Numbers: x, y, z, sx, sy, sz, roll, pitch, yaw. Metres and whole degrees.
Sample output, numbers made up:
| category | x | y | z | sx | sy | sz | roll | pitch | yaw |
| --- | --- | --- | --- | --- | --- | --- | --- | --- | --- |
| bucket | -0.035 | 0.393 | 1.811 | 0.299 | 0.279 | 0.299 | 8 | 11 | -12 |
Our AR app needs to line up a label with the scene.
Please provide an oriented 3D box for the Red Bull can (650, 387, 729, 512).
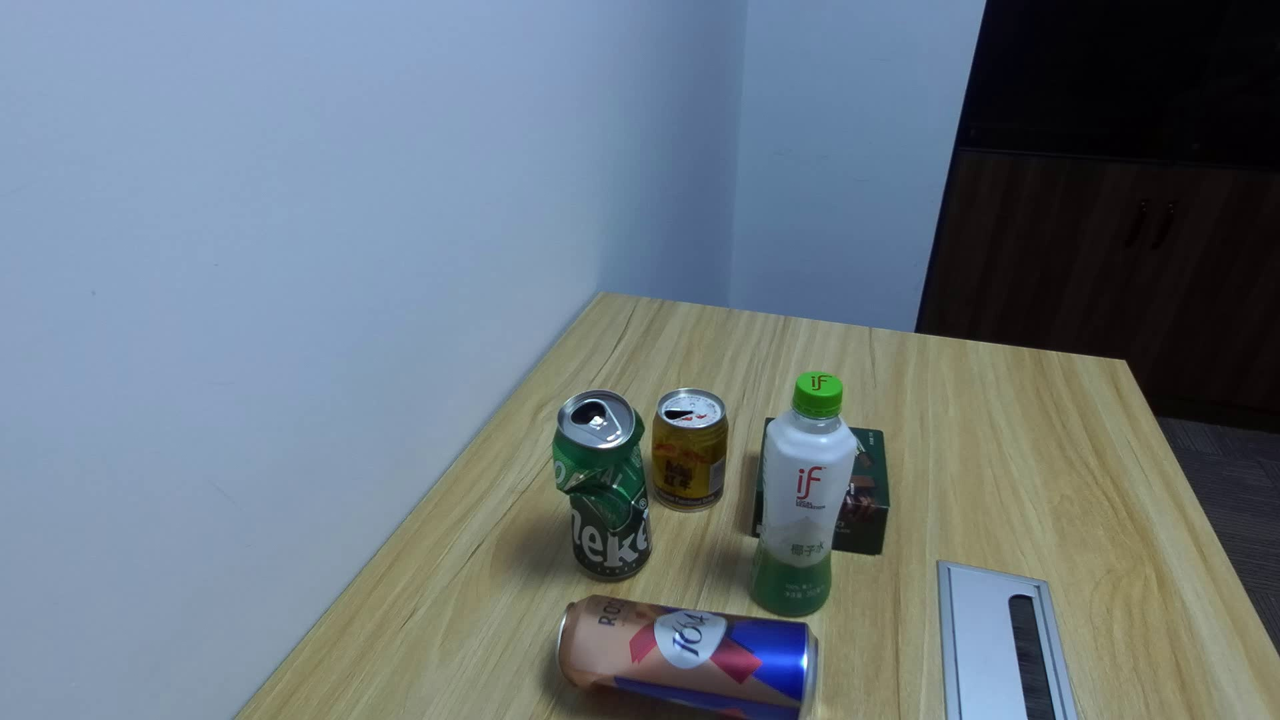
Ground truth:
| category | x | y | z | sx | sy | sz | roll | pitch | yaw |
| --- | --- | --- | --- | --- | --- | --- | --- | --- | --- |
| Red Bull can | 0.044 | 0.079 | 0.626 | 0.069 | 0.092 | 0.069 | 0 | 31 | 0 |

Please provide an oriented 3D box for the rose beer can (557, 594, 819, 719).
| category | x | y | z | sx | sy | sz | roll | pitch | yaw |
| --- | --- | --- | --- | --- | --- | --- | --- | --- | --- |
| rose beer can | 0.031 | 0.193 | 0.463 | 0.167 | 0.069 | 0.070 | 5 | 51 | 13 |

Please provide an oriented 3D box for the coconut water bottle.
| category | x | y | z | sx | sy | sz | roll | pitch | yaw |
| --- | --- | --- | --- | --- | --- | --- | --- | --- | --- |
| coconut water bottle | 0.117 | 0.097 | 0.506 | 0.063 | 0.189 | 0.063 | 1 | 30 | 0 |

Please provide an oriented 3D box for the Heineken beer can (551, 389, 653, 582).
| category | x | y | z | sx | sy | sz | roll | pitch | yaw |
| --- | --- | --- | --- | --- | --- | --- | --- | --- | --- |
| Heineken beer can | -0.027 | 0.096 | 0.543 | 0.067 | 0.159 | 0.078 | -7 | 38 | -6 |

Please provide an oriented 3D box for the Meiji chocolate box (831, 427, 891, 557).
| category | x | y | z | sx | sy | sz | roll | pitch | yaw |
| --- | --- | --- | --- | --- | --- | --- | --- | --- | --- |
| Meiji chocolate box | 0.159 | 0.108 | 0.622 | 0.109 | 0.056 | 0.110 | 6 | 30 | 12 |
